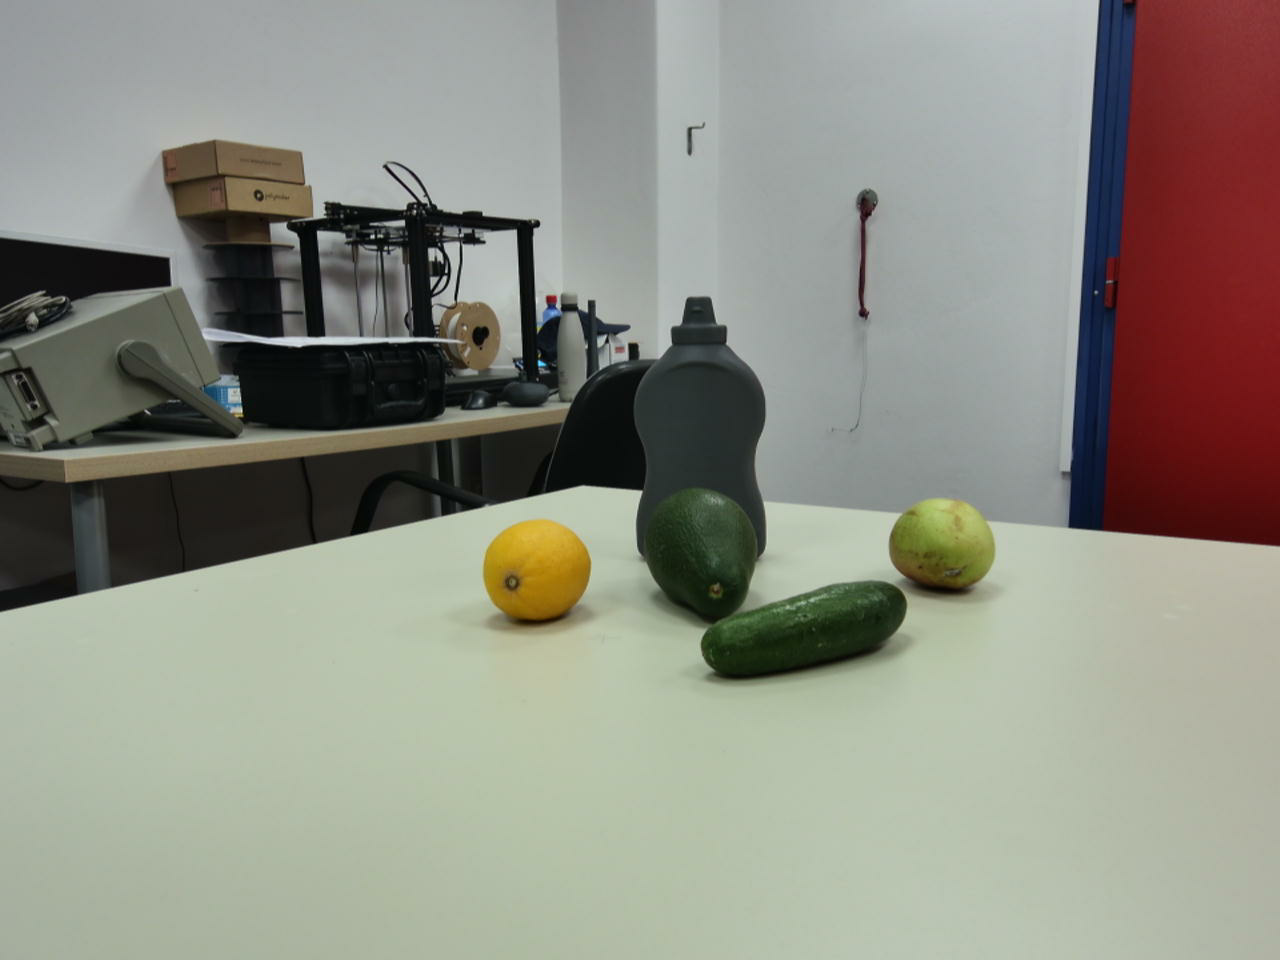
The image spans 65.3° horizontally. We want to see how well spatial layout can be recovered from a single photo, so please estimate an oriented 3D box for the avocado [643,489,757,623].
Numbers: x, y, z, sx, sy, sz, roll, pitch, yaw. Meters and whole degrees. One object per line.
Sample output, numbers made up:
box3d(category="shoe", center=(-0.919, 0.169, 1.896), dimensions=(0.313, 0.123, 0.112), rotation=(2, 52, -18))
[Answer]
box3d(category="avocado", center=(0.036, 0.042, 0.615), dimensions=(0.073, 0.071, 0.109), rotation=(2, 7, 12))
